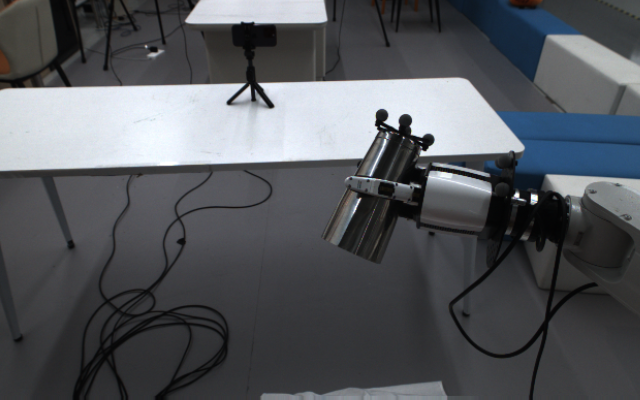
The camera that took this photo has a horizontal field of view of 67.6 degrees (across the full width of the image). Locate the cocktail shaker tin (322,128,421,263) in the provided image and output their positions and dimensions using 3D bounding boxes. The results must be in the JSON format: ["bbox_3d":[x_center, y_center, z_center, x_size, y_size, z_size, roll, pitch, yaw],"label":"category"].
[{"bbox_3d":[0.079,-0.010,0.678,0.093,0.170,0.093,23,0,0],"label":"cocktail shaker tin"}]
